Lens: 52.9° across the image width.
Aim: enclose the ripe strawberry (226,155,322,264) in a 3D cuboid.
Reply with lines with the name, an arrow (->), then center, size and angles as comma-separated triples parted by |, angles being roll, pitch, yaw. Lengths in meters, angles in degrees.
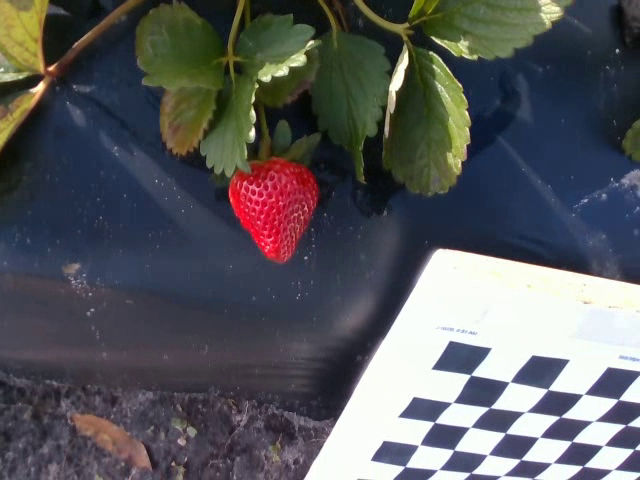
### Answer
ripe strawberry -> -0.016, -0.009, 0.235 | 0.041, 0.047, 0.041 | -5, -14, 13
